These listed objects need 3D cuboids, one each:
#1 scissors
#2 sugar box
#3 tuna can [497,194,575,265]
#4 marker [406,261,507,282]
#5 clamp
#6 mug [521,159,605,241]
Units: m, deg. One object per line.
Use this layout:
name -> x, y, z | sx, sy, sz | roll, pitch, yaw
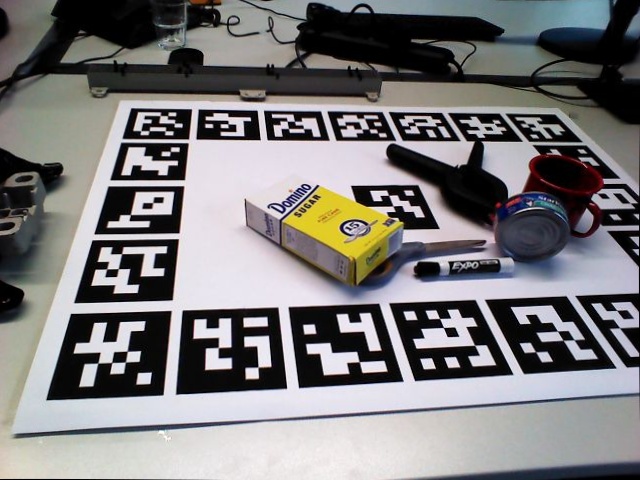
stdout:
scissors -> 0.110, 0.008, 0.633 | 0.202, 0.016, 0.087 | -7, 39, -17
sugar box -> 0.003, -0.019, 0.626 | 0.092, 0.045, 0.177 | -29, 46, -34
tuna can -> 0.260, -0.011, 0.626 | 0.086, 0.086, 0.033 | 11, 42, 5
marker -> 0.160, 0.037, 0.610 | 0.121, 0.020, 0.019 | -3, 43, -10
clamp -> 0.211, -0.081, 0.751 | 0.165, 0.037, 0.202 | -7, 44, -16
mug -> 0.313, -0.043, 0.676 | 0.093, 0.082, 0.117 | -20, 45, -27
